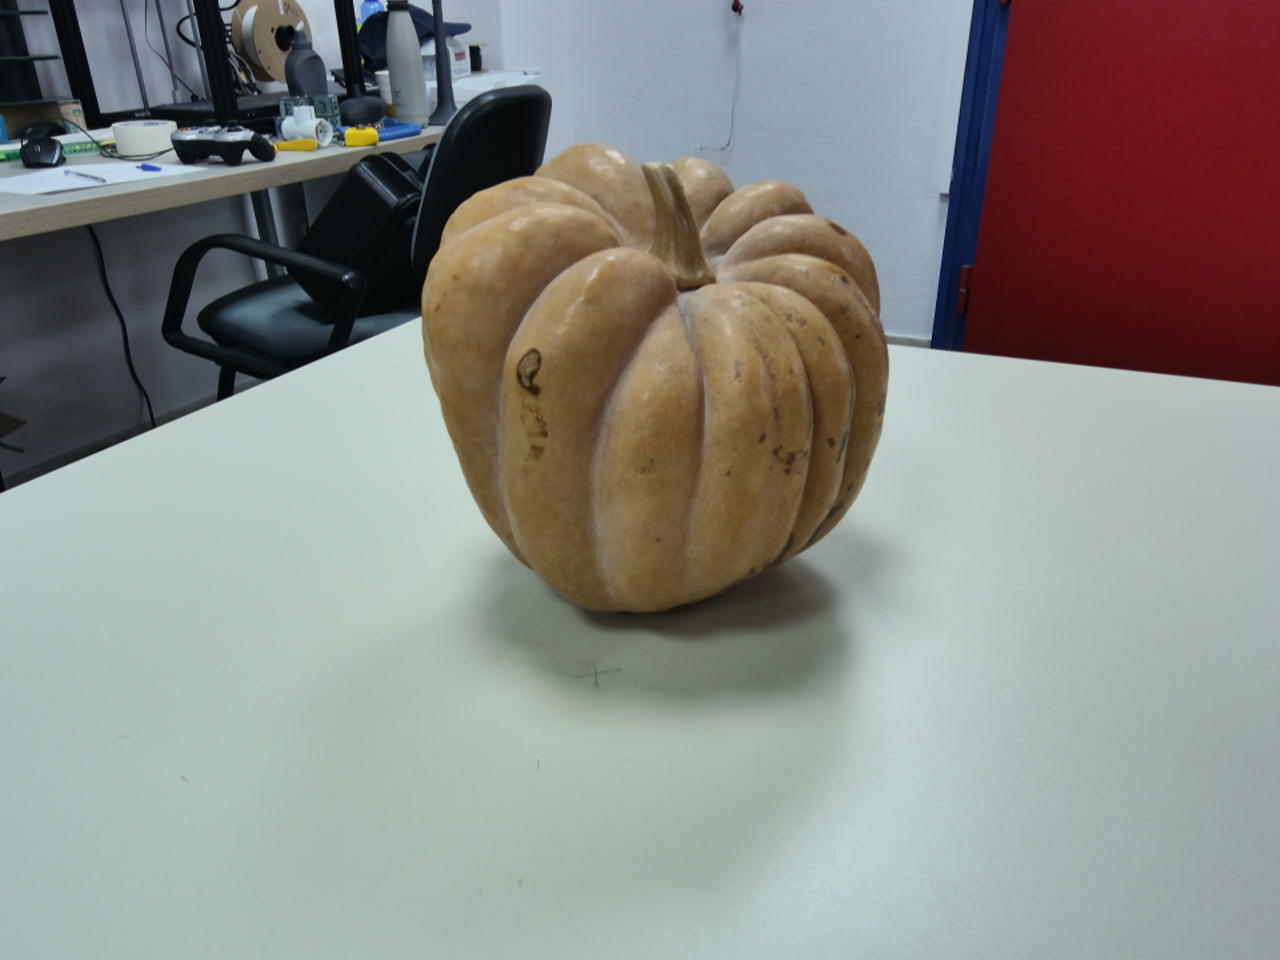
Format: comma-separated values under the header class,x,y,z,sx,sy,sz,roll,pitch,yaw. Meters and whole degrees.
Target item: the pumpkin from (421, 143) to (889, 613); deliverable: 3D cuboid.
class,x,y,z,sx,sy,sz,roll,pitch,yaw
pumpkin,0.005,-0.043,0.416,0.199,0.177,0.198,0,24,0
